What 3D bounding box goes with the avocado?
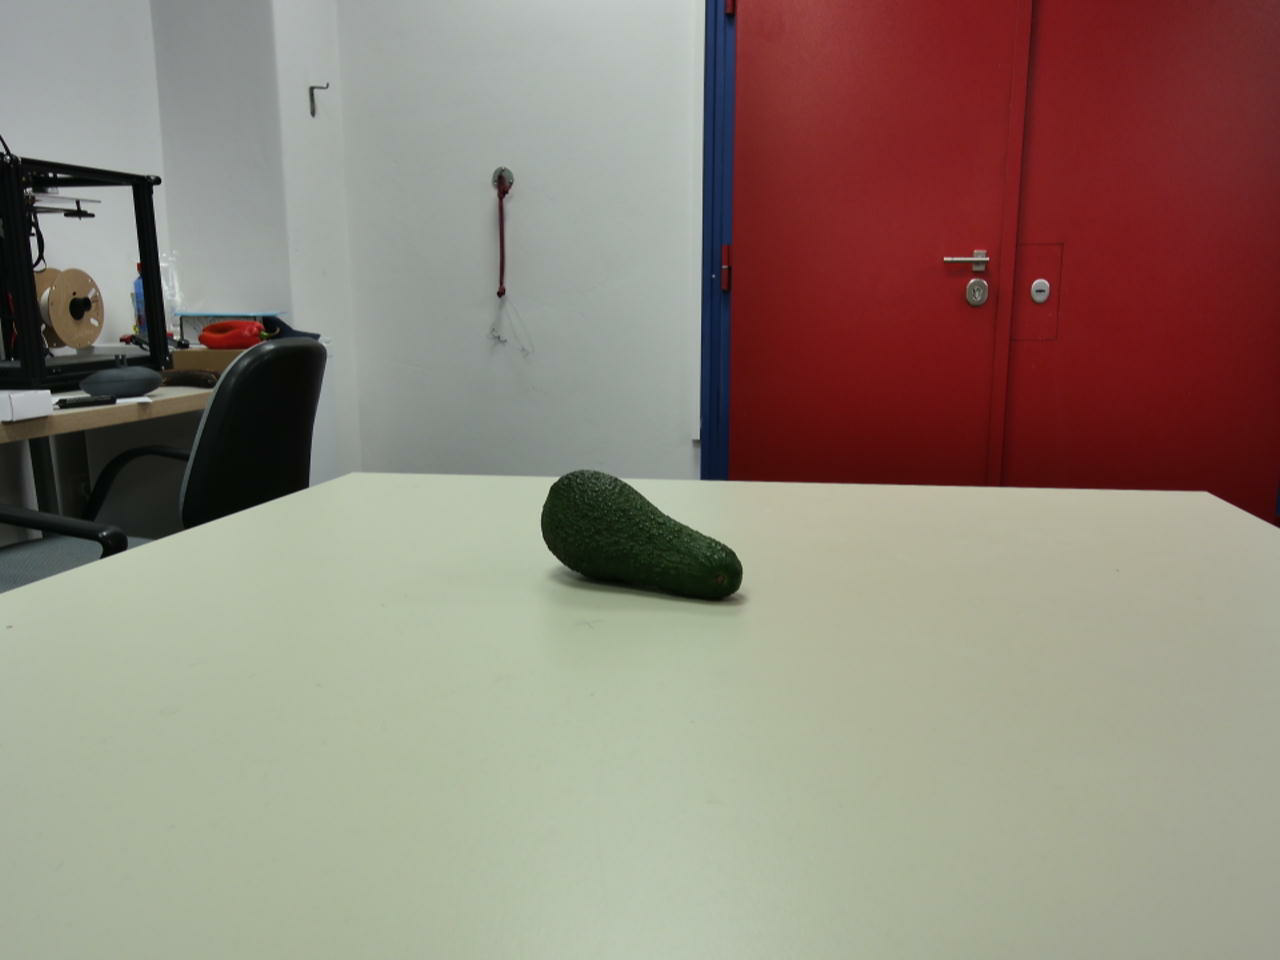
[{"bbox_3d":[0.002,0.030,0.594,0.141,0.067,0.063,4,8,26],"label":"avocado"}]
